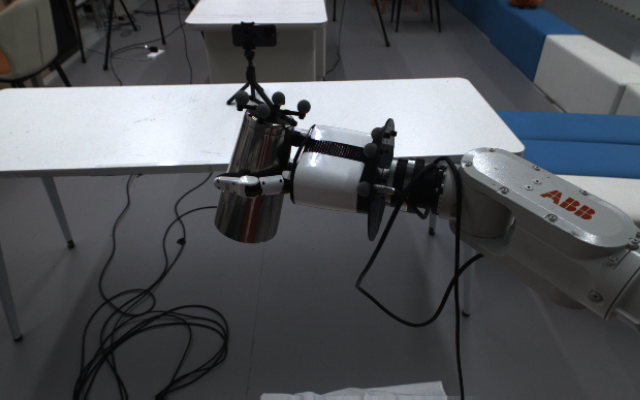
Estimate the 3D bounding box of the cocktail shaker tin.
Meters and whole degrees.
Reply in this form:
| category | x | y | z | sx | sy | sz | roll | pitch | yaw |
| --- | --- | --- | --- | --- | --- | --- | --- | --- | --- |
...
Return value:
| category | x | y | z | sx | sy | sz | roll | pitch | yaw |
| --- | --- | --- | --- | --- | --- | --- | --- | --- | --- |
| cocktail shaker tin | -0.083 | -0.038 | 0.658 | 0.093 | 0.170 | 0.093 | 12 | 29 | -7 |
